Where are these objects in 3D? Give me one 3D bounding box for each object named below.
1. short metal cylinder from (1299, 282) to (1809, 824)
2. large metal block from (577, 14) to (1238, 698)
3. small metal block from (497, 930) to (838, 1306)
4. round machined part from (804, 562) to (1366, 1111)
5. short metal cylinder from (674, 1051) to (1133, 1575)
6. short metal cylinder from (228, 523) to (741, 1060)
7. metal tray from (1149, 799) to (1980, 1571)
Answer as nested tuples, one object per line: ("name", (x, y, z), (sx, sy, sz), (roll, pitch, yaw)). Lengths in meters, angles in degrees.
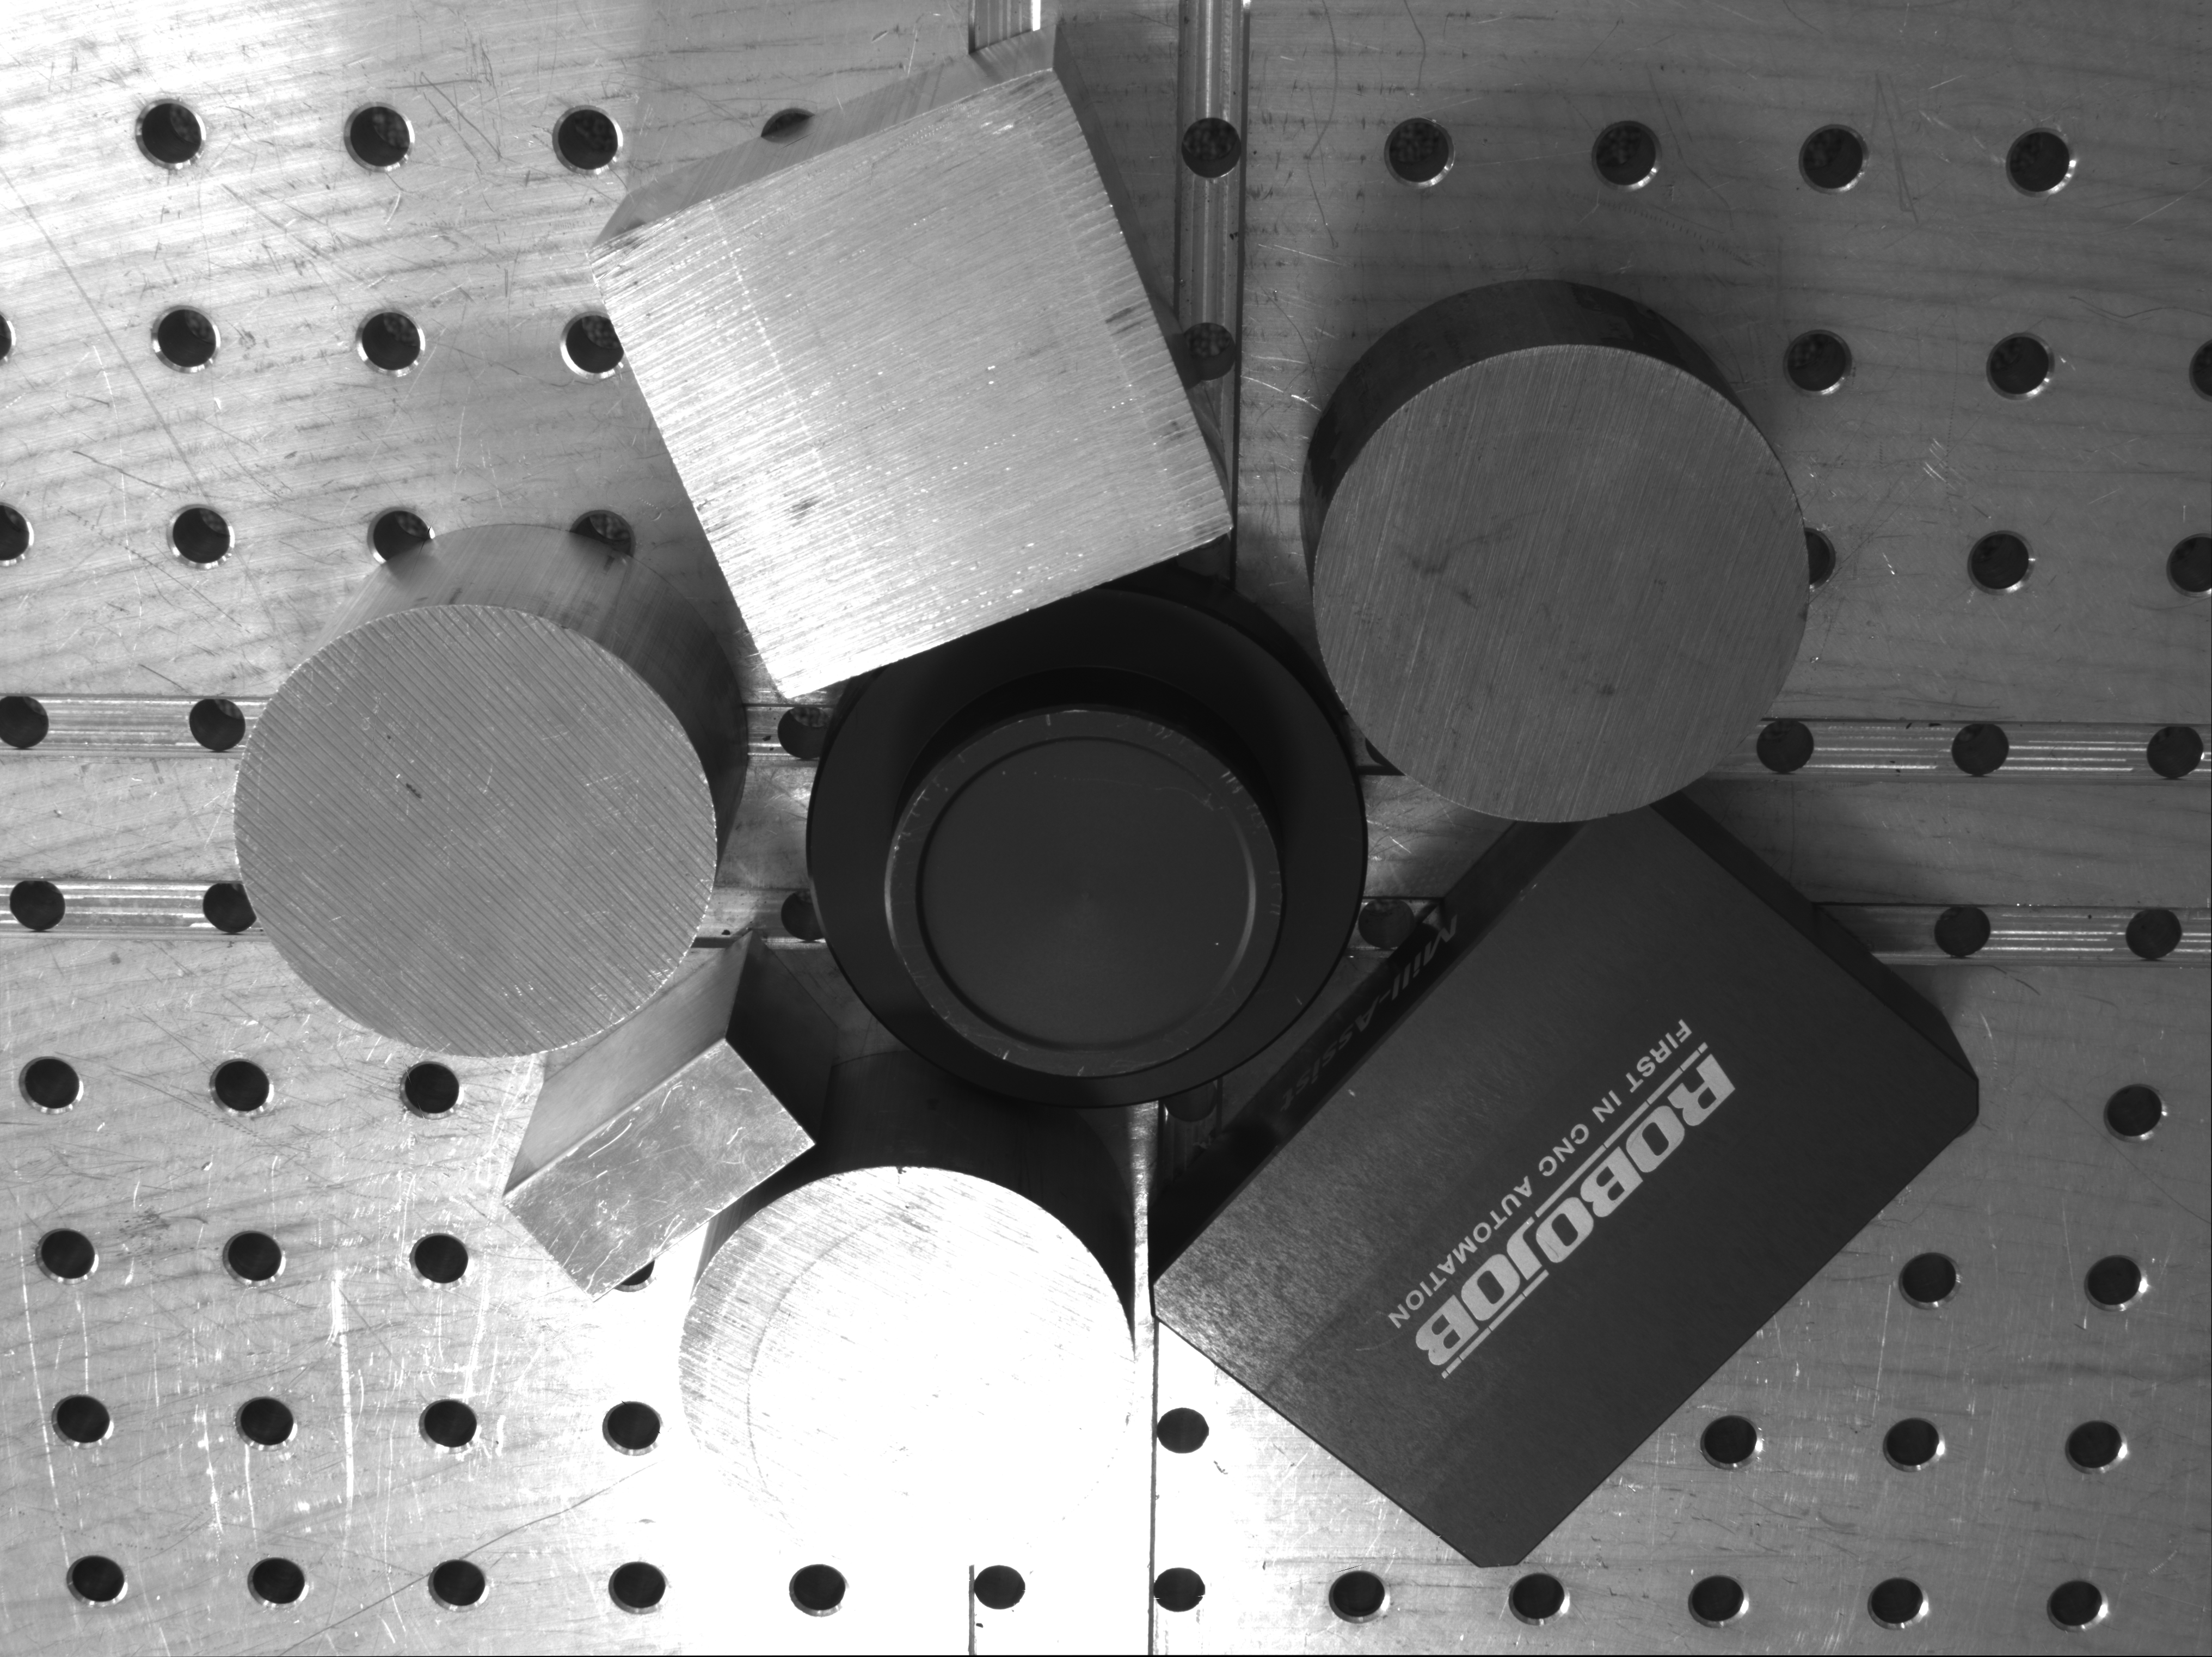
("short metal cylinder", (0.073, -0.047, 0.615), (0.080, 0.050, 0.080), (0, 110, 0))
("large metal block", (-0.031, -0.079, 0.604), (0.080, 0.050, 0.080), (-20, 109, 7))
("small metal block", (-0.077, 0.051, 0.650), (0.050, 0.050, 0.025), (-36, 106, 12))
("round machined part", (-0.004, 0.005, 0.638), (0.098, 0.042, 0.098), (0, 110, 0))
("short metal cylinder", (-0.035, 0.087, 0.664), (0.080, 0.050, 0.080), (0, 110, 0))
("short metal cylinder", (-0.105, -0.007, 0.629), (0.080, 0.050, 0.080), (0, 110, 0))
("metal tray", (0.081, 0.061, 0.665), (0.090, 0.030, 0.130), (39, 105, -12))
